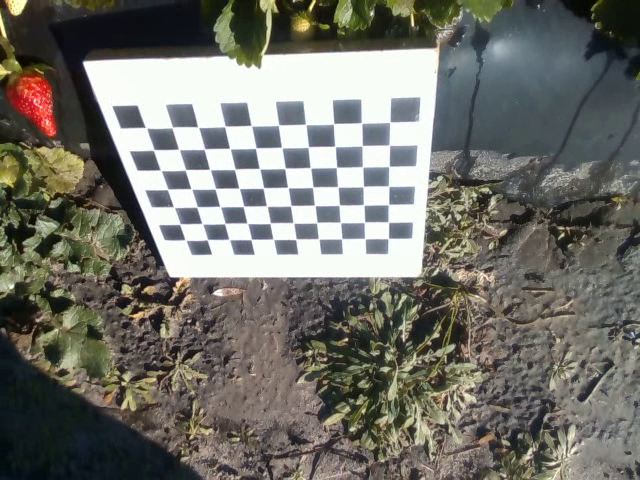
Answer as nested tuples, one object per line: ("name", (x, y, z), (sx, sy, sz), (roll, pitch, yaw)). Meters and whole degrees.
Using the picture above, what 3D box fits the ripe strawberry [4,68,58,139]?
("ripe strawberry", (-0.251, -0.116, 0.540), (0.048, 0.069, 0.040), (-13, 37, 20))
